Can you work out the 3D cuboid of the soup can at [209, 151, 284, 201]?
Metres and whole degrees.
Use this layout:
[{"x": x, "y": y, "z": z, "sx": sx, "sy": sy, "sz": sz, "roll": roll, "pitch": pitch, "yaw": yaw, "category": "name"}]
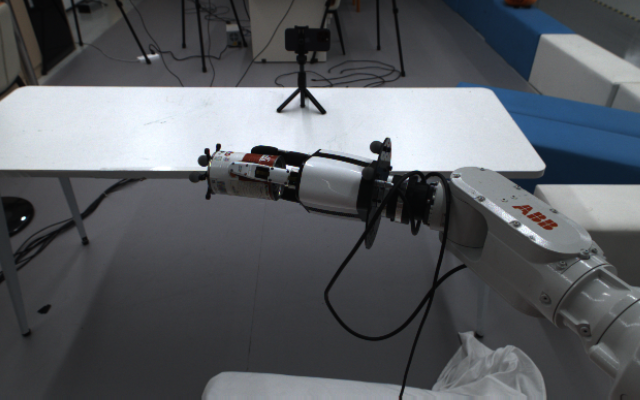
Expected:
[{"x": -0.108, "y": -0.037, "z": 0.727, "sx": 0.101, "sy": 0.067, "sz": 0.067, "roll": 6, "pitch": 35, "yaw": 11, "category": "soup can"}]
